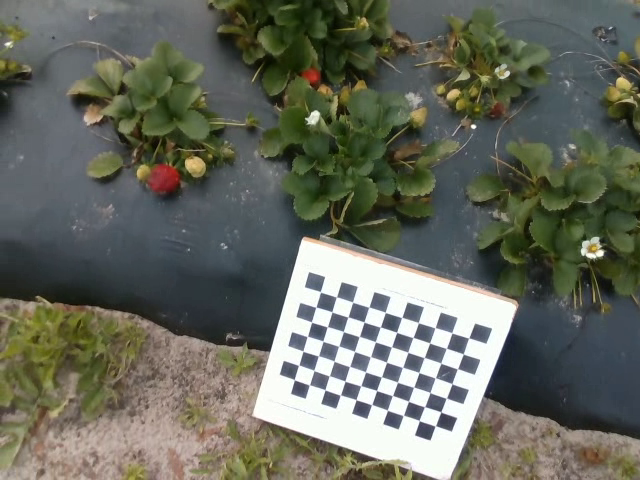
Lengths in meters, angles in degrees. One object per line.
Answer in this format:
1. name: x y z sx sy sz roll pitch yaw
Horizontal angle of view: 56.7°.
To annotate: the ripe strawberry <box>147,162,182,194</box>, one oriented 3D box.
1. ripe strawberry: -0.230 -0.085 0.853 0.046 0.046 0.059 12 35 7
